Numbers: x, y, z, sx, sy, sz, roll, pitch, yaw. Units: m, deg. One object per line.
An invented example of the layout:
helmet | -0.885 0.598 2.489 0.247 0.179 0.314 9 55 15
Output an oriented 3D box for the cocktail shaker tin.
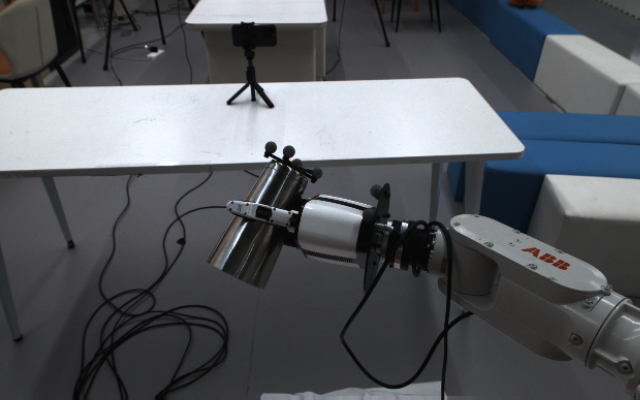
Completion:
cocktail shaker tin | -0.082 0.030 0.706 0.093 0.093 0.170 21 81 25
